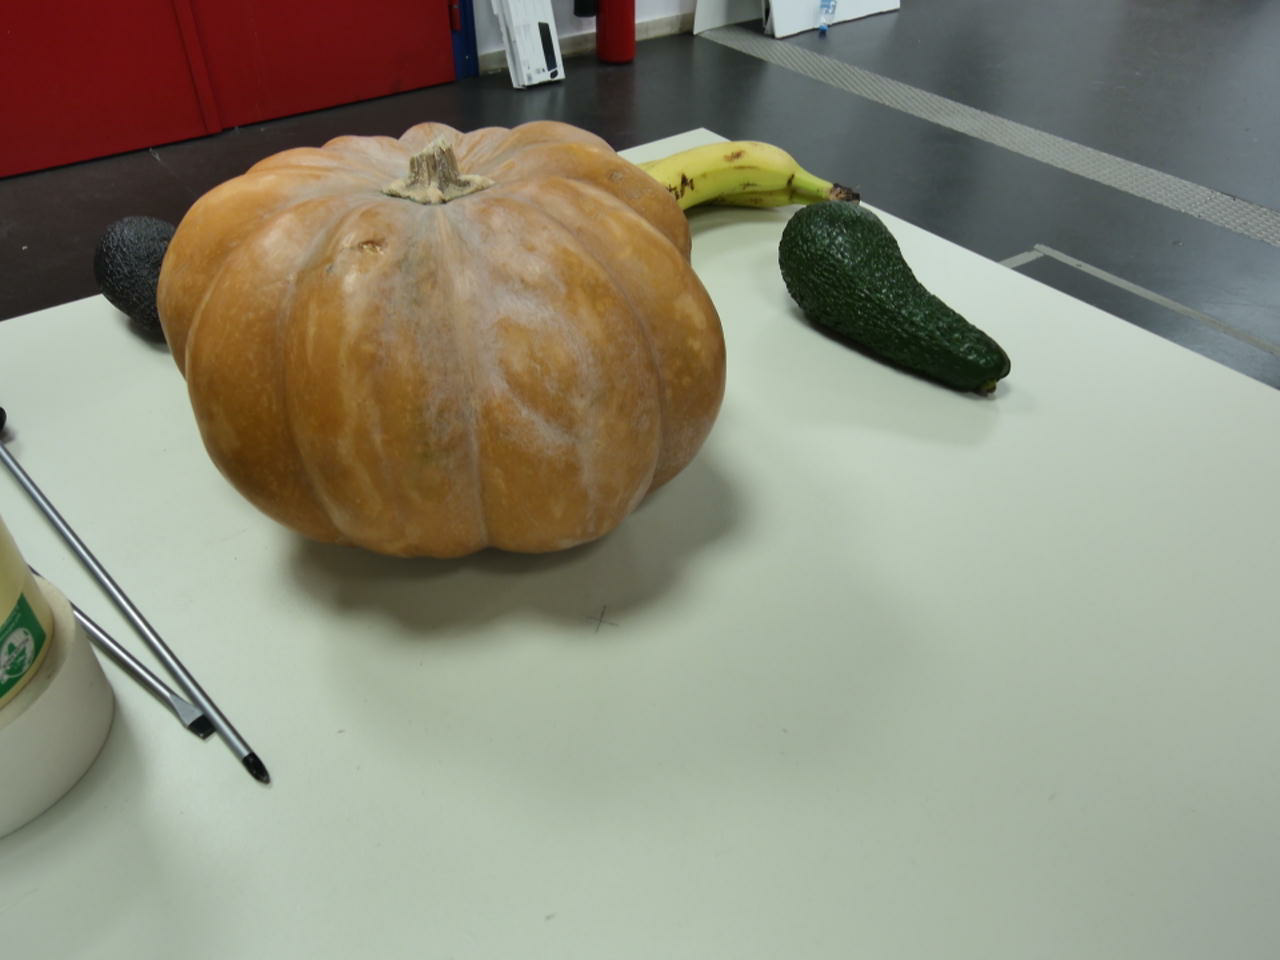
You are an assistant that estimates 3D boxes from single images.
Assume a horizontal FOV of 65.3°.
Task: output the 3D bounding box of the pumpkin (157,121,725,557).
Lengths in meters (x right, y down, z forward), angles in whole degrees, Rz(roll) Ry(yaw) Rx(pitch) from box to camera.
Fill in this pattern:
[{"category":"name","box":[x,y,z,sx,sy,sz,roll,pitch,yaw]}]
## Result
[{"category":"pumpkin","box":[-0.090,-0.073,0.492,0.277,0.181,0.277,0,38,0]}]
